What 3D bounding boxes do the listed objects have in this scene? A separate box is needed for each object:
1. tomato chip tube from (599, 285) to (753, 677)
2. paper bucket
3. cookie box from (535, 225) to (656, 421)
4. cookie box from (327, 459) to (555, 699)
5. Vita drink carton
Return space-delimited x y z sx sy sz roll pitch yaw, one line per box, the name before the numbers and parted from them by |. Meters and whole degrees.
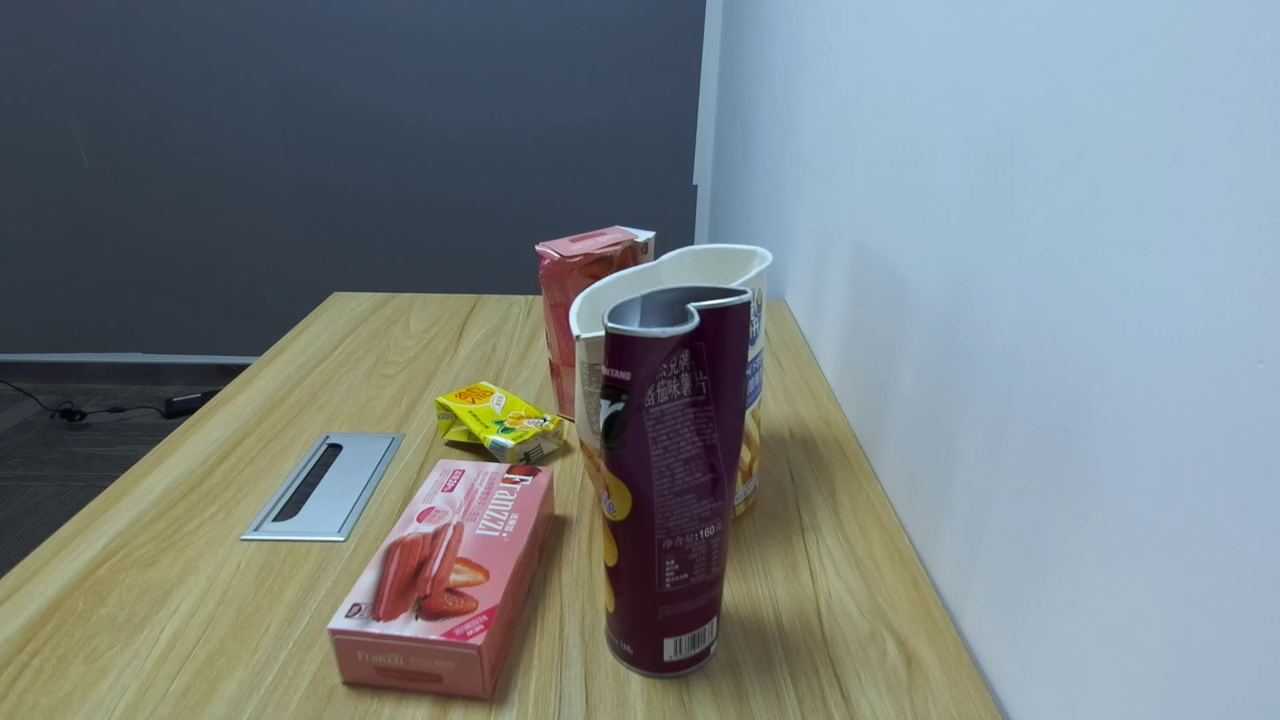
tomato chip tube | 0.020 0.078 0.421 0.077 0.235 0.076 7 26 10
paper bucket | 0.032 0.019 0.578 0.147 0.199 0.218 4 24 4
cookie box | -0.038 -0.033 0.707 0.055 0.184 0.119 20 32 41
cookie box | -0.126 0.142 0.498 0.096 0.048 0.184 3 25 5
Vita drink carton | -0.134 0.063 0.672 0.108 0.042 0.087 23 25 30
